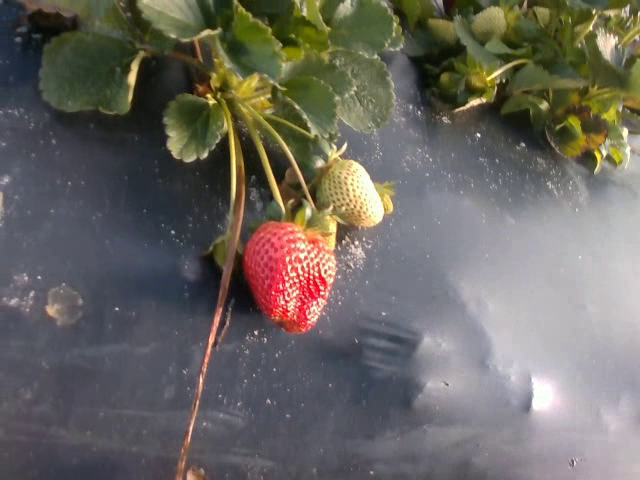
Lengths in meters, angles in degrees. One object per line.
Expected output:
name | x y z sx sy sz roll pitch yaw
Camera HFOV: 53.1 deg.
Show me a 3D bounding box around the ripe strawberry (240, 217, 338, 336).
ripe strawberry | -0.010 0.016 0.283 0.047 0.050 0.034 13 -18 -22
